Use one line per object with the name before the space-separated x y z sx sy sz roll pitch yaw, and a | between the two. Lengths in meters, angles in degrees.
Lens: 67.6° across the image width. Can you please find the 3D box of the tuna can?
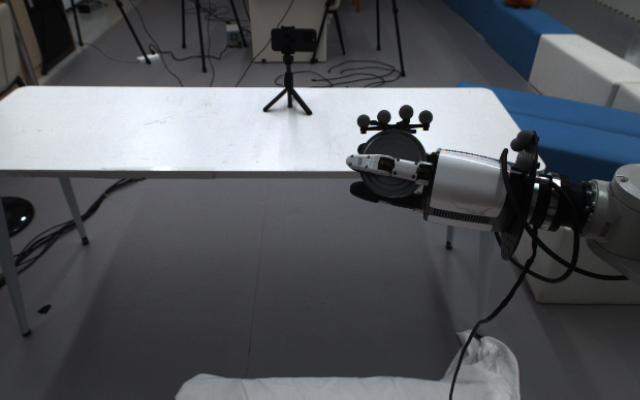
tuna can | 0.095 -0.046 0.620 0.085 0.085 0.034 15 2 18
